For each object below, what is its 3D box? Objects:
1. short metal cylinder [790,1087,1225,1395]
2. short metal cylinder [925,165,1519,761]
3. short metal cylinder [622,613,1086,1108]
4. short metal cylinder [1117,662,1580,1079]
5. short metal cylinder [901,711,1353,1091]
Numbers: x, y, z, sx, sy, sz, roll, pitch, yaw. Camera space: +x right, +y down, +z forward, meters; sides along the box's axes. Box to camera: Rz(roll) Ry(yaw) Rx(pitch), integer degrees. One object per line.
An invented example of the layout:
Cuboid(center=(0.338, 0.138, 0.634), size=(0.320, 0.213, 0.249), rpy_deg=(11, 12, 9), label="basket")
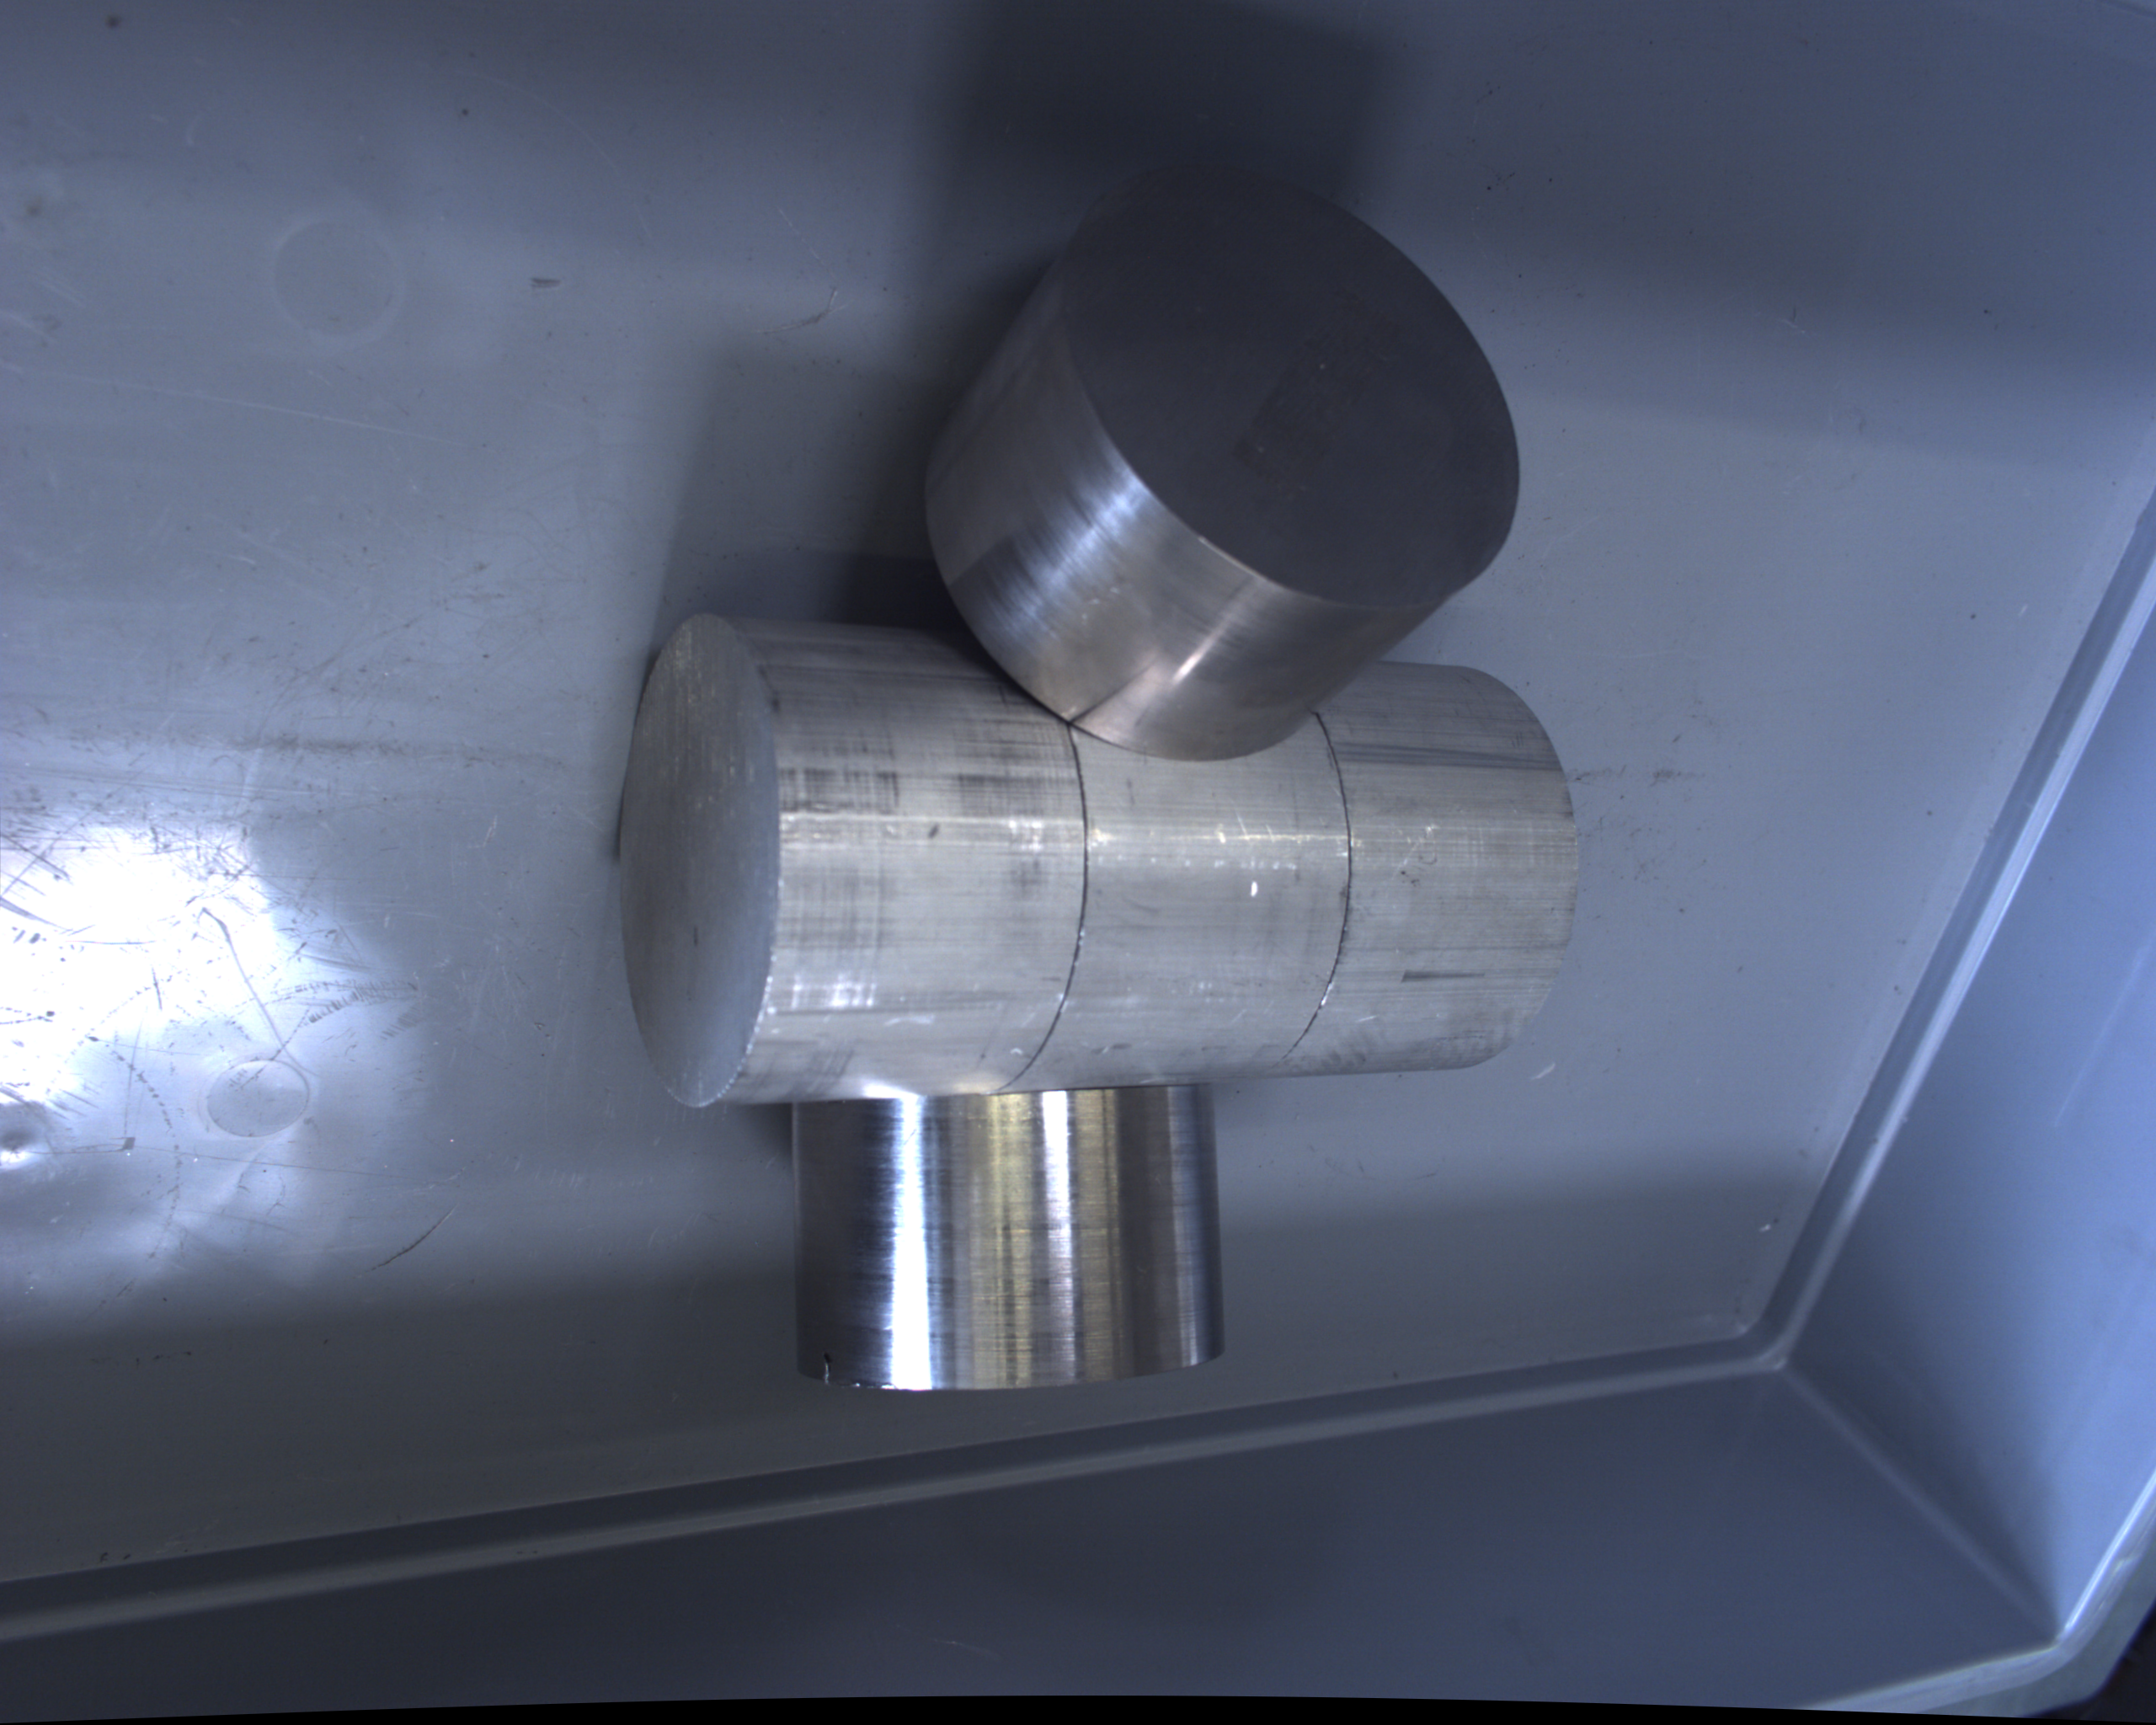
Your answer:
Cuboid(center=(-0.013, 0.069, 0.397), size=(0.081, 0.080, 0.050), rpy_deg=(0, 84, -29), label="short metal cylinder")
Cuboid(center=(0.023, -0.063, 0.335), size=(0.081, 0.080, 0.050), rpy_deg=(2, 155, -29), label="short metal cylinder")
Cuboid(center=(-0.040, 0.000, 0.349), size=(0.050, 0.080, 0.079), rpy_deg=(1, 118, -29), label="short metal cylinder")
Cuboid(center=(0.049, 0.001, 0.398), size=(0.050, 0.080, 0.079), rpy_deg=(1, 118, -29), label="short metal cylinder")
Cuboid(center=(0.005, 0.001, 0.374), size=(0.050, 0.080, 0.079), rpy_deg=(1, 118, -29), label="short metal cylinder")
